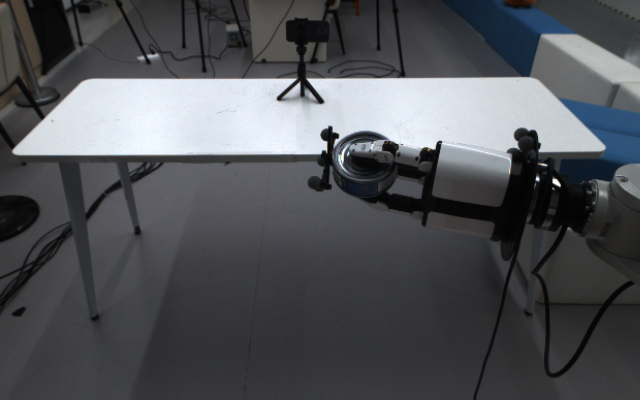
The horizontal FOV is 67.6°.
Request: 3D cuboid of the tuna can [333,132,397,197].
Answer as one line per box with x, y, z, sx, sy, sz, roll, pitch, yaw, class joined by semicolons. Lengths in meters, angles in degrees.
0.062;-0.044;0.625;0.085;0.034;0.085;-2;57;2;tuna can
